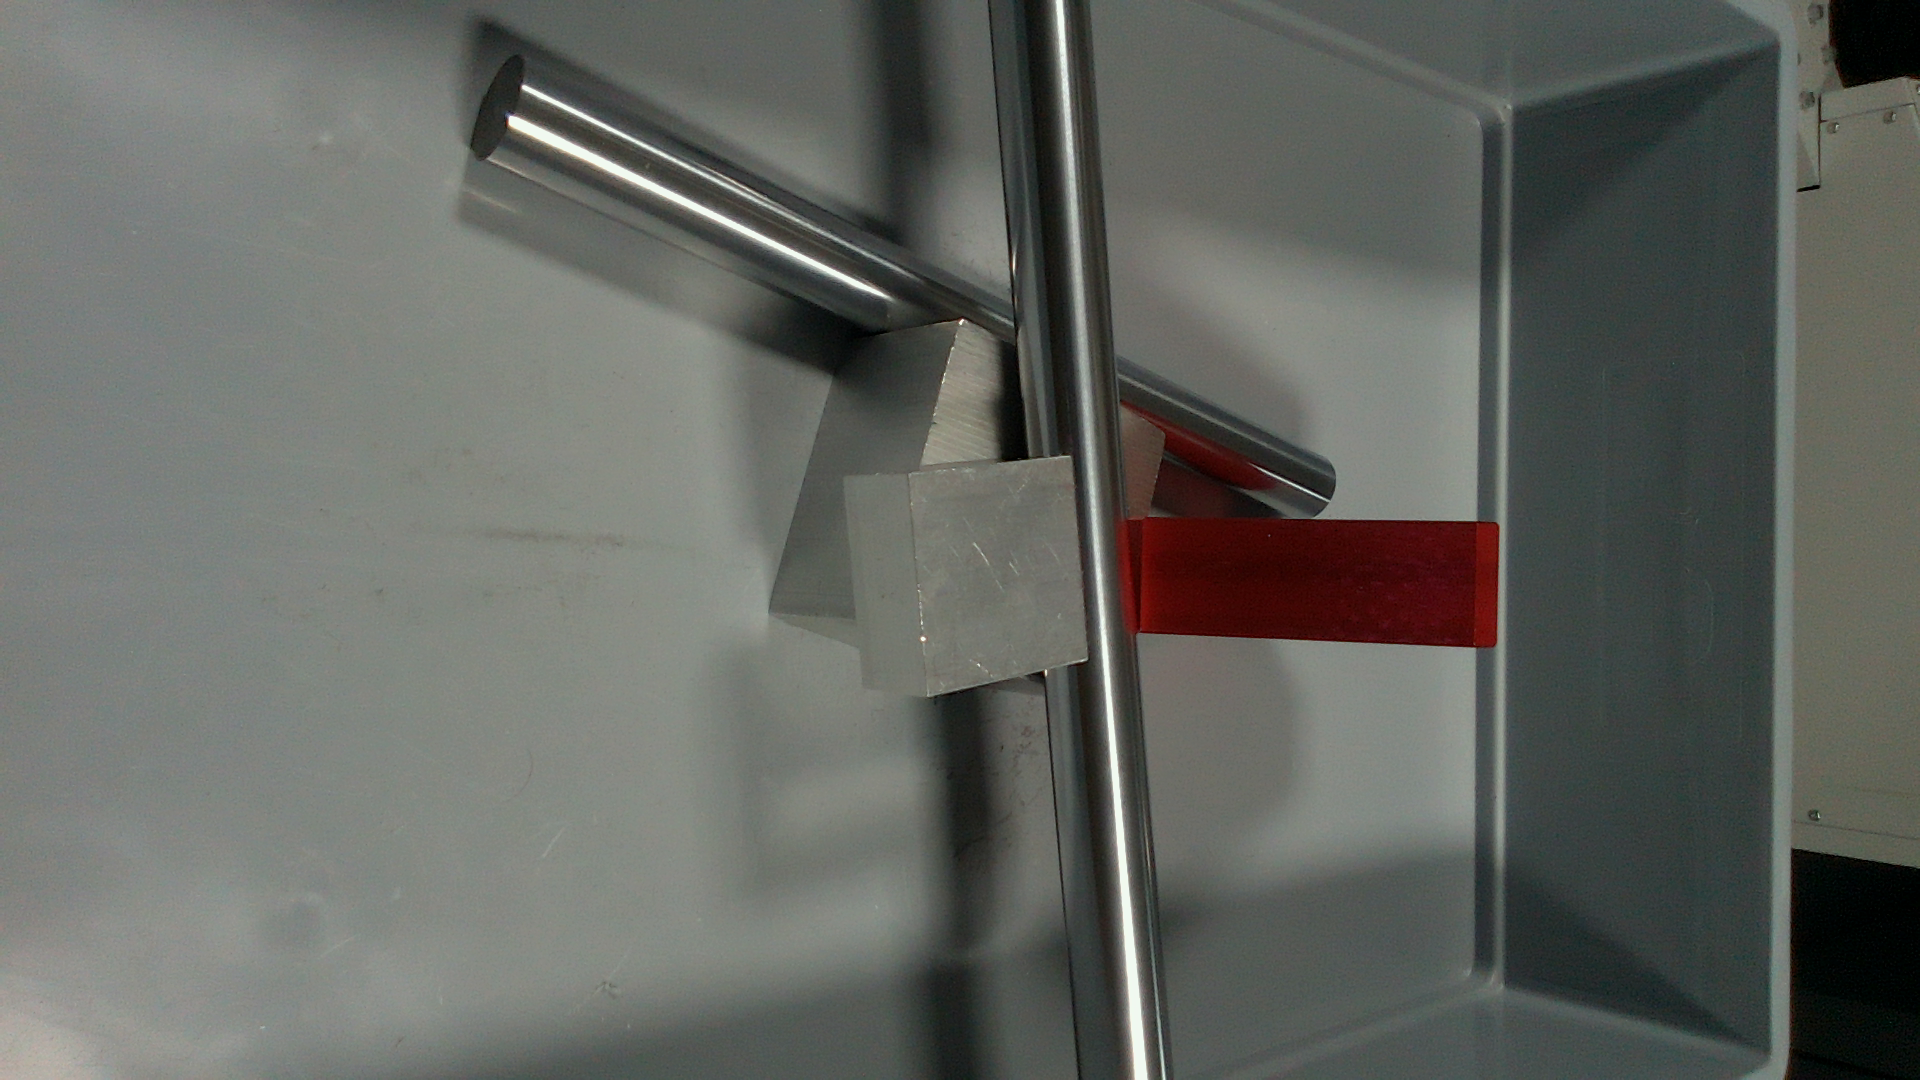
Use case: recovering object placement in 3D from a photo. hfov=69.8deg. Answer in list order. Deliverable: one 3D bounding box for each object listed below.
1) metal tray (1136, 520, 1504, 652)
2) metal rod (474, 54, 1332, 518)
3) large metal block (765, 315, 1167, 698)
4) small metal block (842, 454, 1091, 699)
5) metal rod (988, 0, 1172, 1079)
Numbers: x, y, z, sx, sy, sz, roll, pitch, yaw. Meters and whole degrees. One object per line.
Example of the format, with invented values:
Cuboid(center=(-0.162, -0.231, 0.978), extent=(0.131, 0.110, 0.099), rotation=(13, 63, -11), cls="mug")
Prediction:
Cuboid(center=(0.107, 0.012, 0.400), extent=(0.130, 0.090, 0.030), rotation=(2, 89, -71), cls="metal tray")
Cuboid(center=(0.010, -0.057, 0.397), extent=(0.301, 0.025, 0.025), rotation=(19, 78, -38), cls="metal rod")
Cuboid(center=(0.004, -0.005, 0.375), extent=(0.080, 0.050, 0.080), rotation=(23, 76, -37), cls="large metal block")
Cuboid(center=(0.002, 0.007, 0.325), extent=(0.050, 0.025, 0.050), rotation=(-8, 95, -40), cls="small metal block")
Cuboid(center=(0.030, -0.004, 0.348), extent=(0.025, 0.025, 0.300), rotation=(-8, 95, -39), cls="metal rod")
